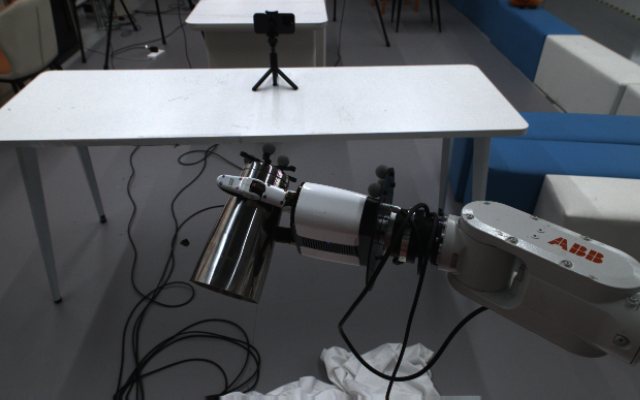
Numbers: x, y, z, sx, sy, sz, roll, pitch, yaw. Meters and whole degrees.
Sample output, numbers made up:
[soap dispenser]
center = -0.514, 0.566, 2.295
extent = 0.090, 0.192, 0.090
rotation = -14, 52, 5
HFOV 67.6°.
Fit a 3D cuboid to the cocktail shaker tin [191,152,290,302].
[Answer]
[cocktail shaker tin]
center = -0.096, 0.038, 0.637
extent = 0.093, 0.093, 0.170
rotation = 13, 71, 15
